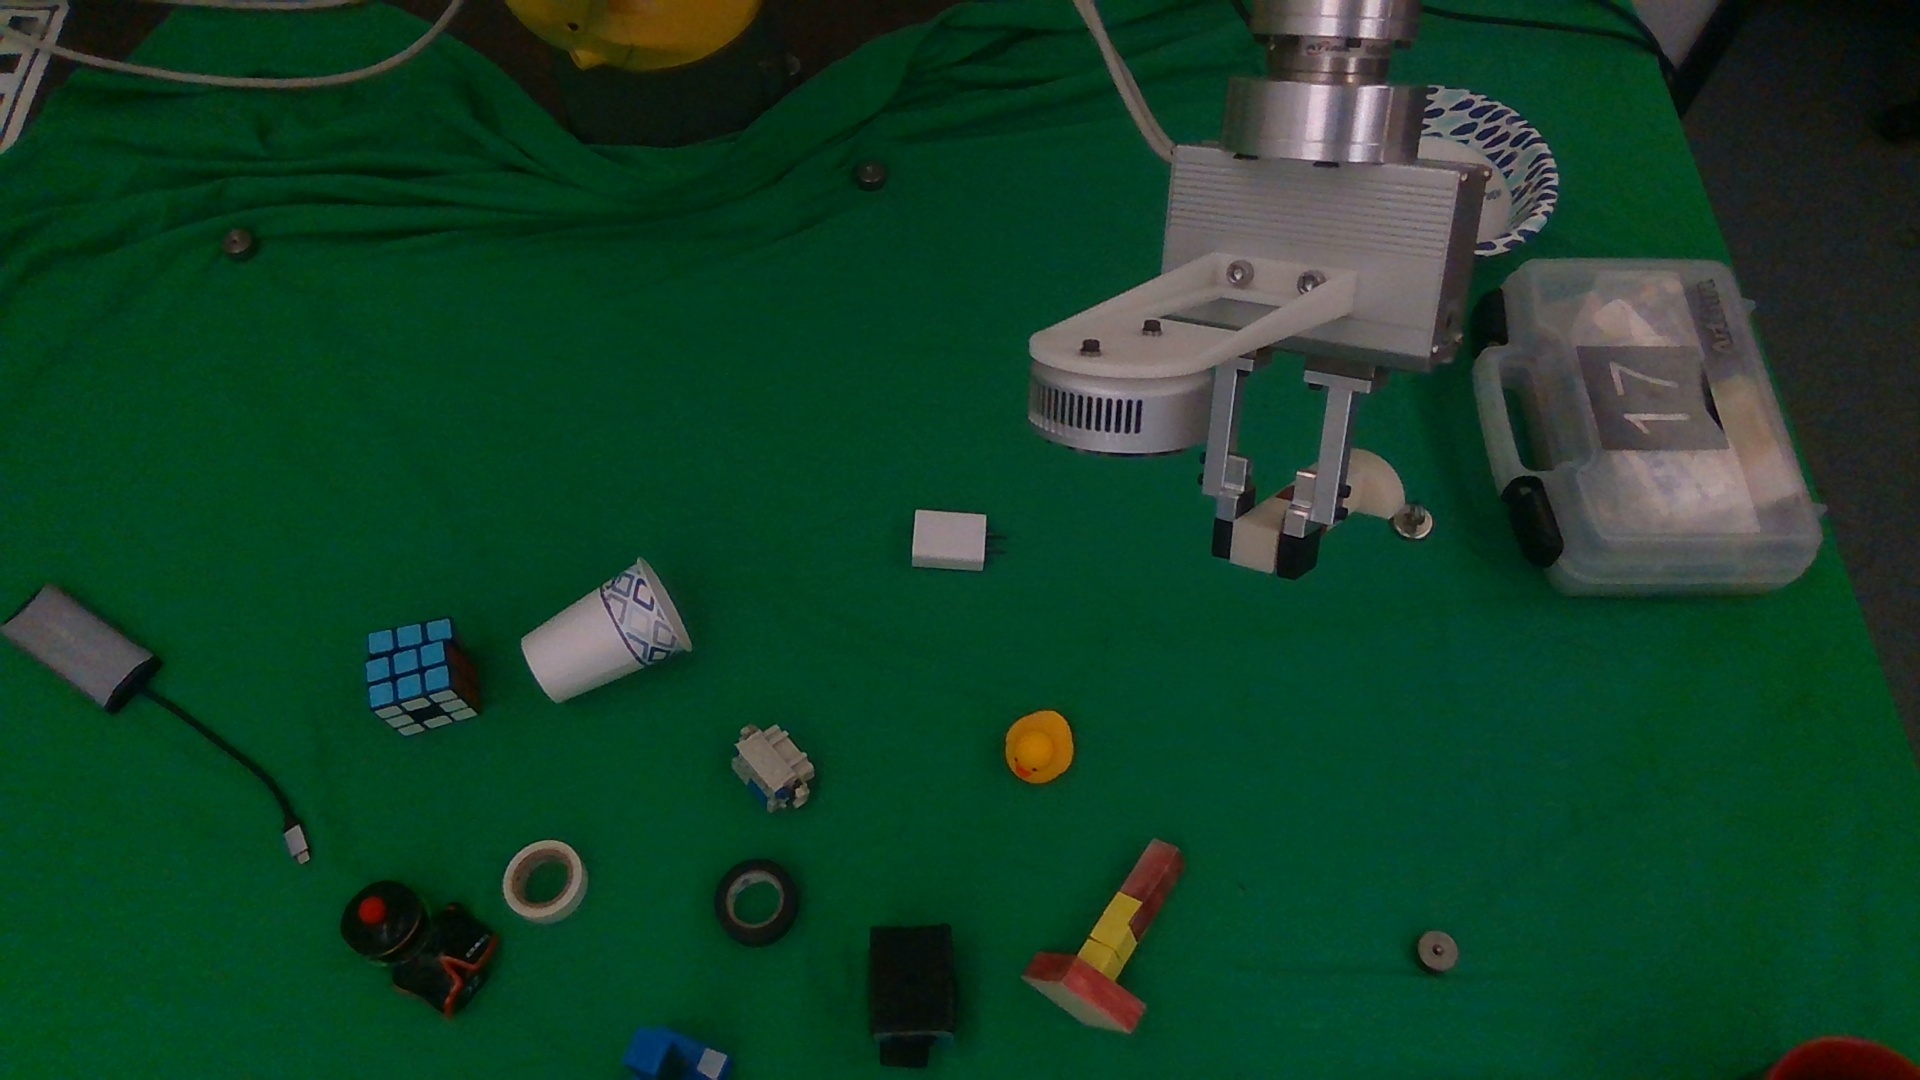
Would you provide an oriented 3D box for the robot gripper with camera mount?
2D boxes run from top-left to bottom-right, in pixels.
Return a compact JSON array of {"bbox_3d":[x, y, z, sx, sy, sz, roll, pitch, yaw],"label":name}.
[{"bbox_3d":[0.090,-0.039,0.506,0.119,0.158,0.193,15,26,31],"label":"robot gripper with camera mount"}]

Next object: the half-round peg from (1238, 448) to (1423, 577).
[{"bbox_3d":[0.165,-0.013,0.636,0.055,0.031,0.121,16,27,34],"label":"half-round peg"}]
